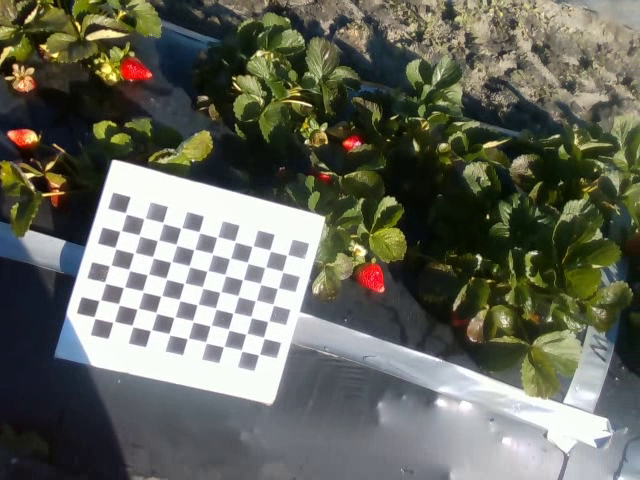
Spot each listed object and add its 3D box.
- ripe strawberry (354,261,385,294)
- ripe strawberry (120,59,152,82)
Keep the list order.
[{"bbox_3d":[0.077,0.061,0.919,0.048,0.054,0.029,-31,-1,-8],"label":"ripe strawberry"},{"bbox_3d":[-0.314,-0.289,1.078,0.064,0.050,0.052,21,-6,5],"label":"ripe strawberry"}]
